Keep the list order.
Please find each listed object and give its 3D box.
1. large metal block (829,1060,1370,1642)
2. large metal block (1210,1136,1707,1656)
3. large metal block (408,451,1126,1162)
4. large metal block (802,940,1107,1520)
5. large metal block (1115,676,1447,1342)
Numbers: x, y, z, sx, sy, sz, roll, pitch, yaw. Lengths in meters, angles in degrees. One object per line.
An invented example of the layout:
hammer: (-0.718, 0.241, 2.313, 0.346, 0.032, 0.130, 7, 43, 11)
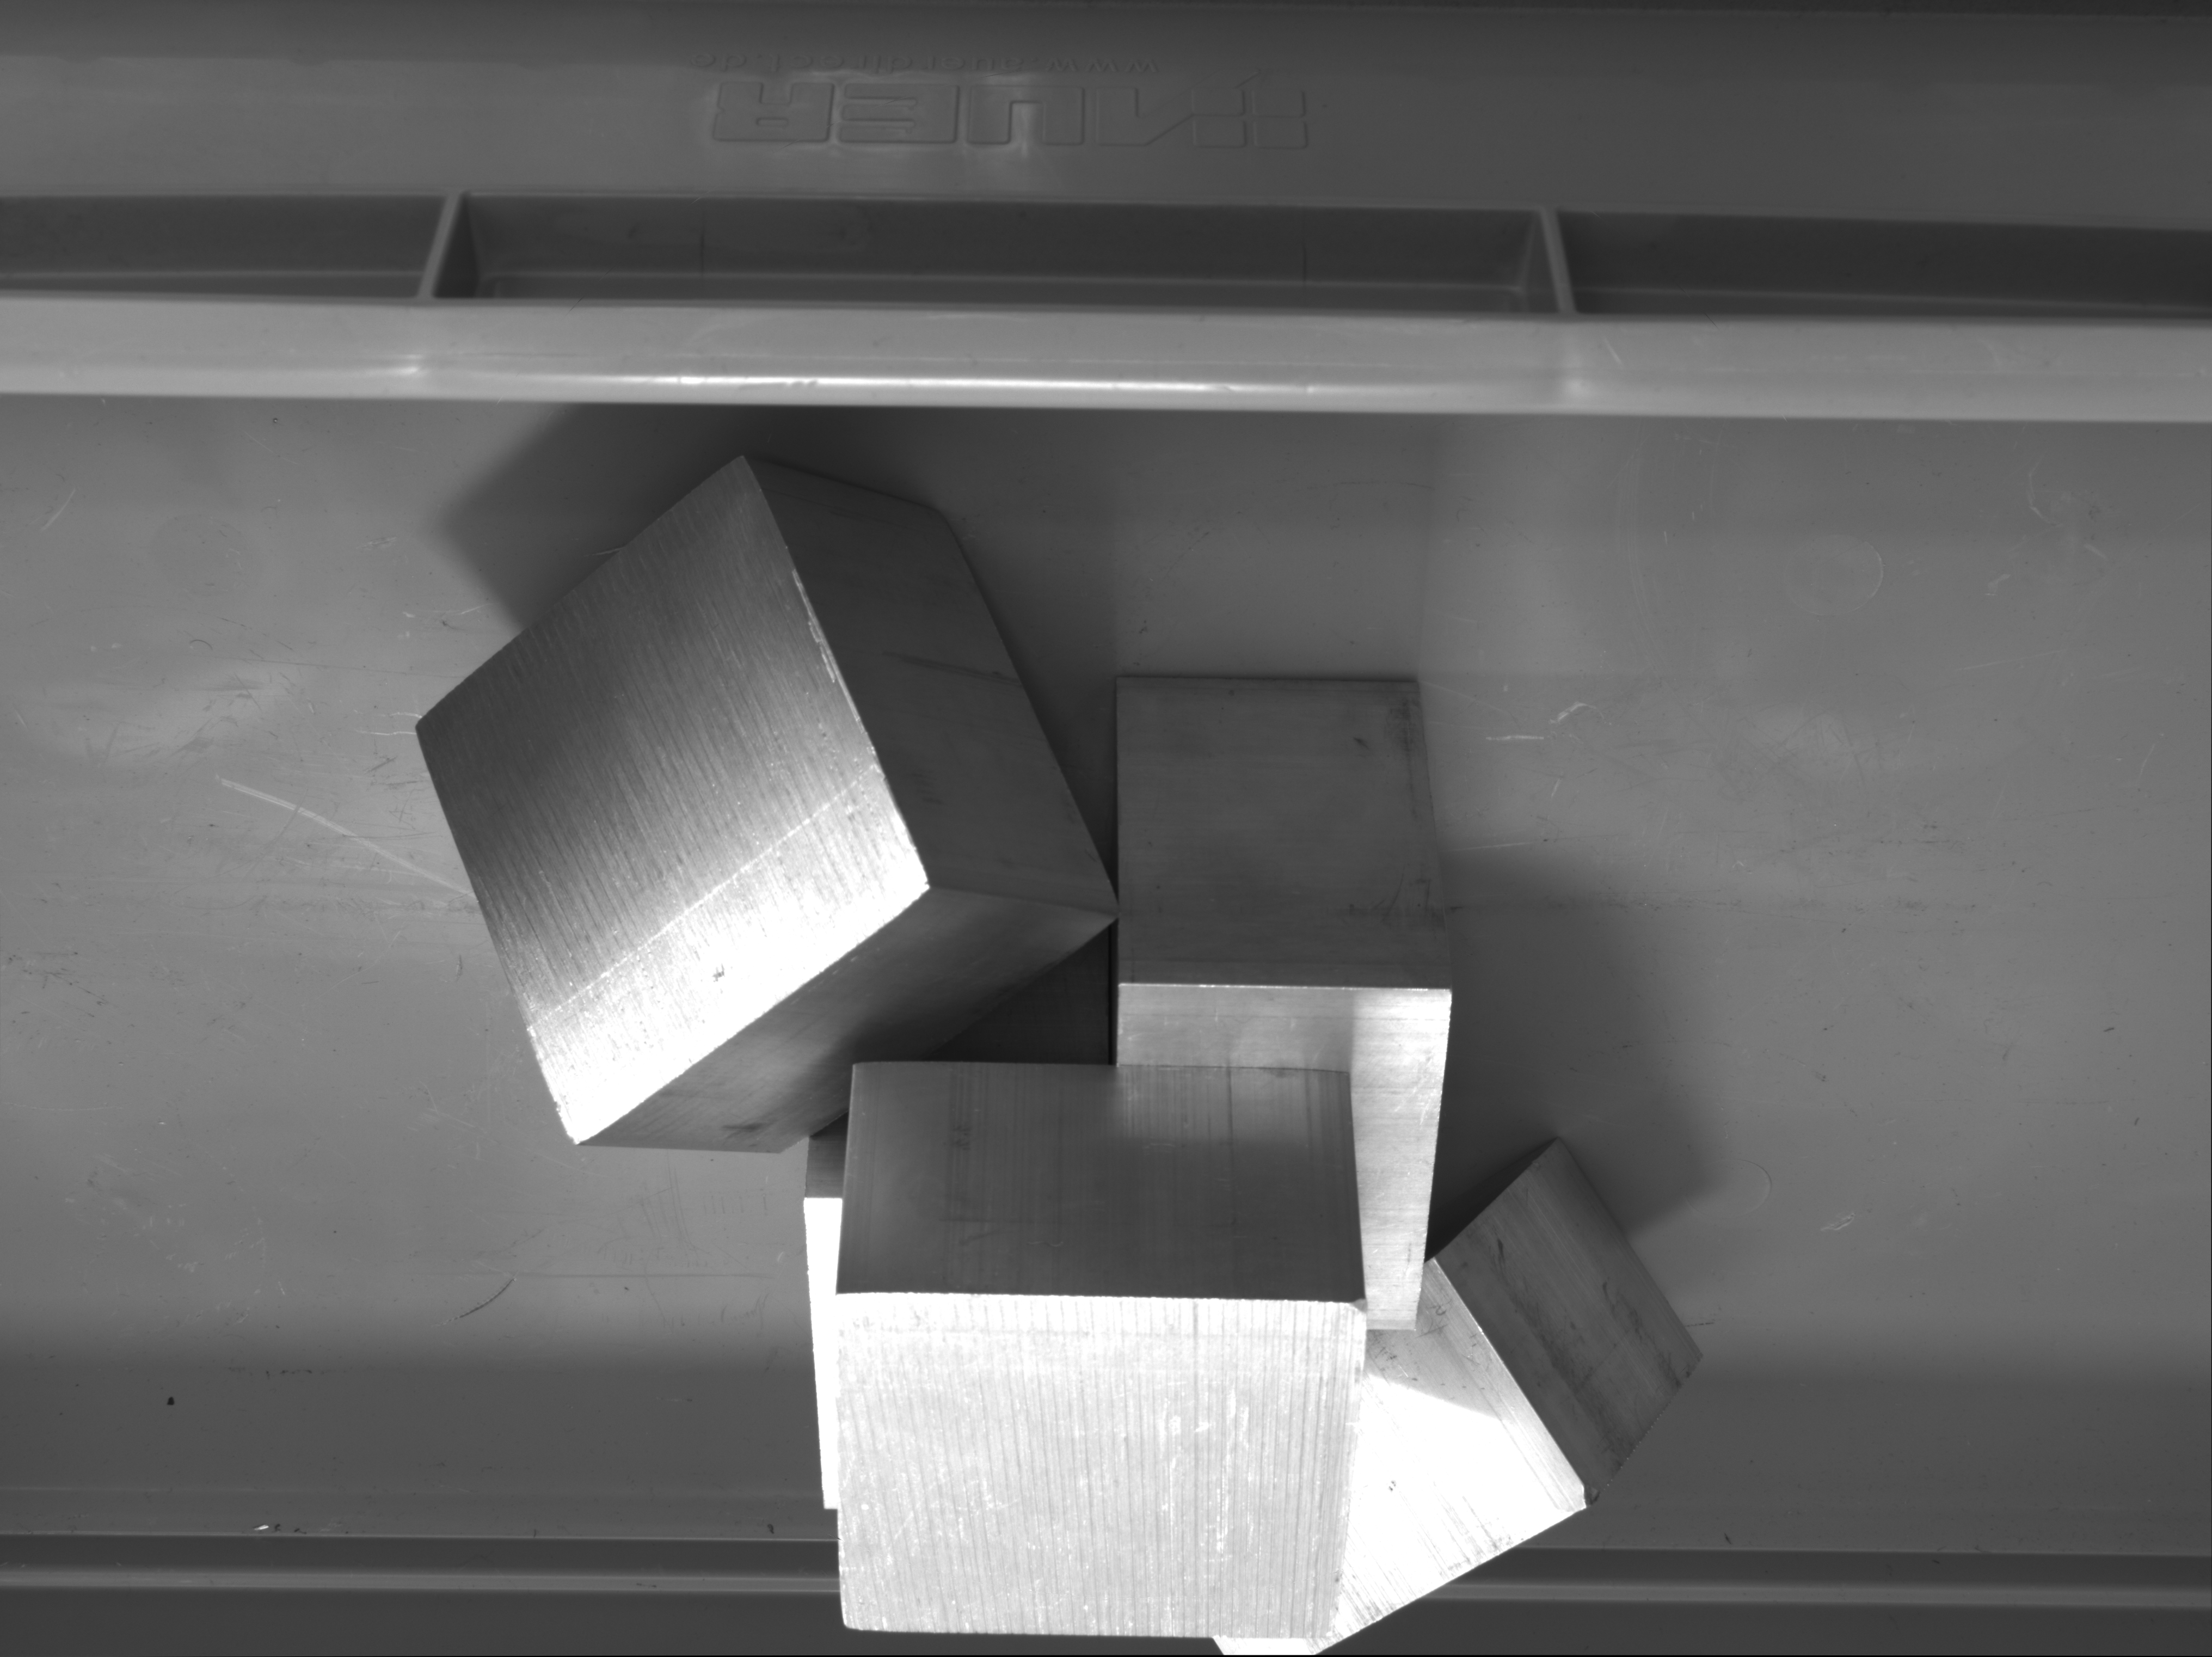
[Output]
large metal block: (-0.002, 0.084, 0.587, 0.080, 0.050, 0.080, 1, 130, -1)
large metal block: (0.056, 0.108, 0.683, 0.080, 0.080, 0.050, -34, 87, 25)
large metal block: (-0.056, -0.001, 0.591, 0.080, 0.080, 0.050, -36, 156, 26)
large metal block: (-0.026, 0.067, 0.658, 0.050, 0.080, 0.080, 1, 130, -1)
large metal block: (0.027, 0.030, 0.626, 0.050, 0.080, 0.080, 1, 130, -1)
